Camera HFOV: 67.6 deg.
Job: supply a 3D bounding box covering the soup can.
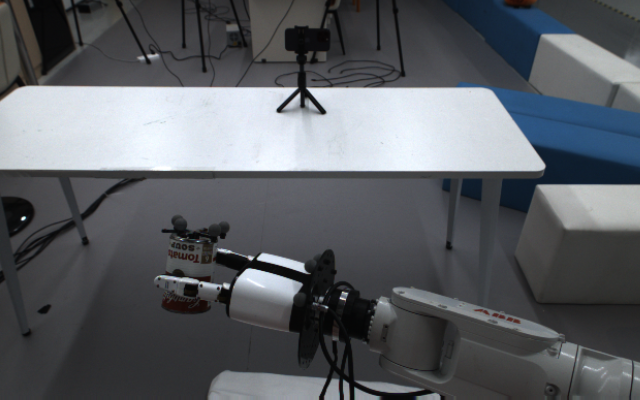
[{"bbox_3d":[-0.181,0.103,0.678,0.067,0.101,0.067,7,3,0],"label":"soup can"}]
